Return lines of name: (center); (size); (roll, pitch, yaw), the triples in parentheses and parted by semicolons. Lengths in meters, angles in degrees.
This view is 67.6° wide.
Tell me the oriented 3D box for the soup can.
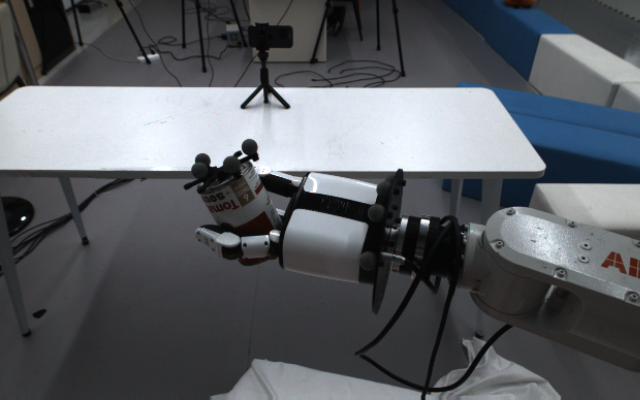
soup can: (-0.082, 0.014, 0.549); (0.067, 0.101, 0.067); (-22, 24, 10)
